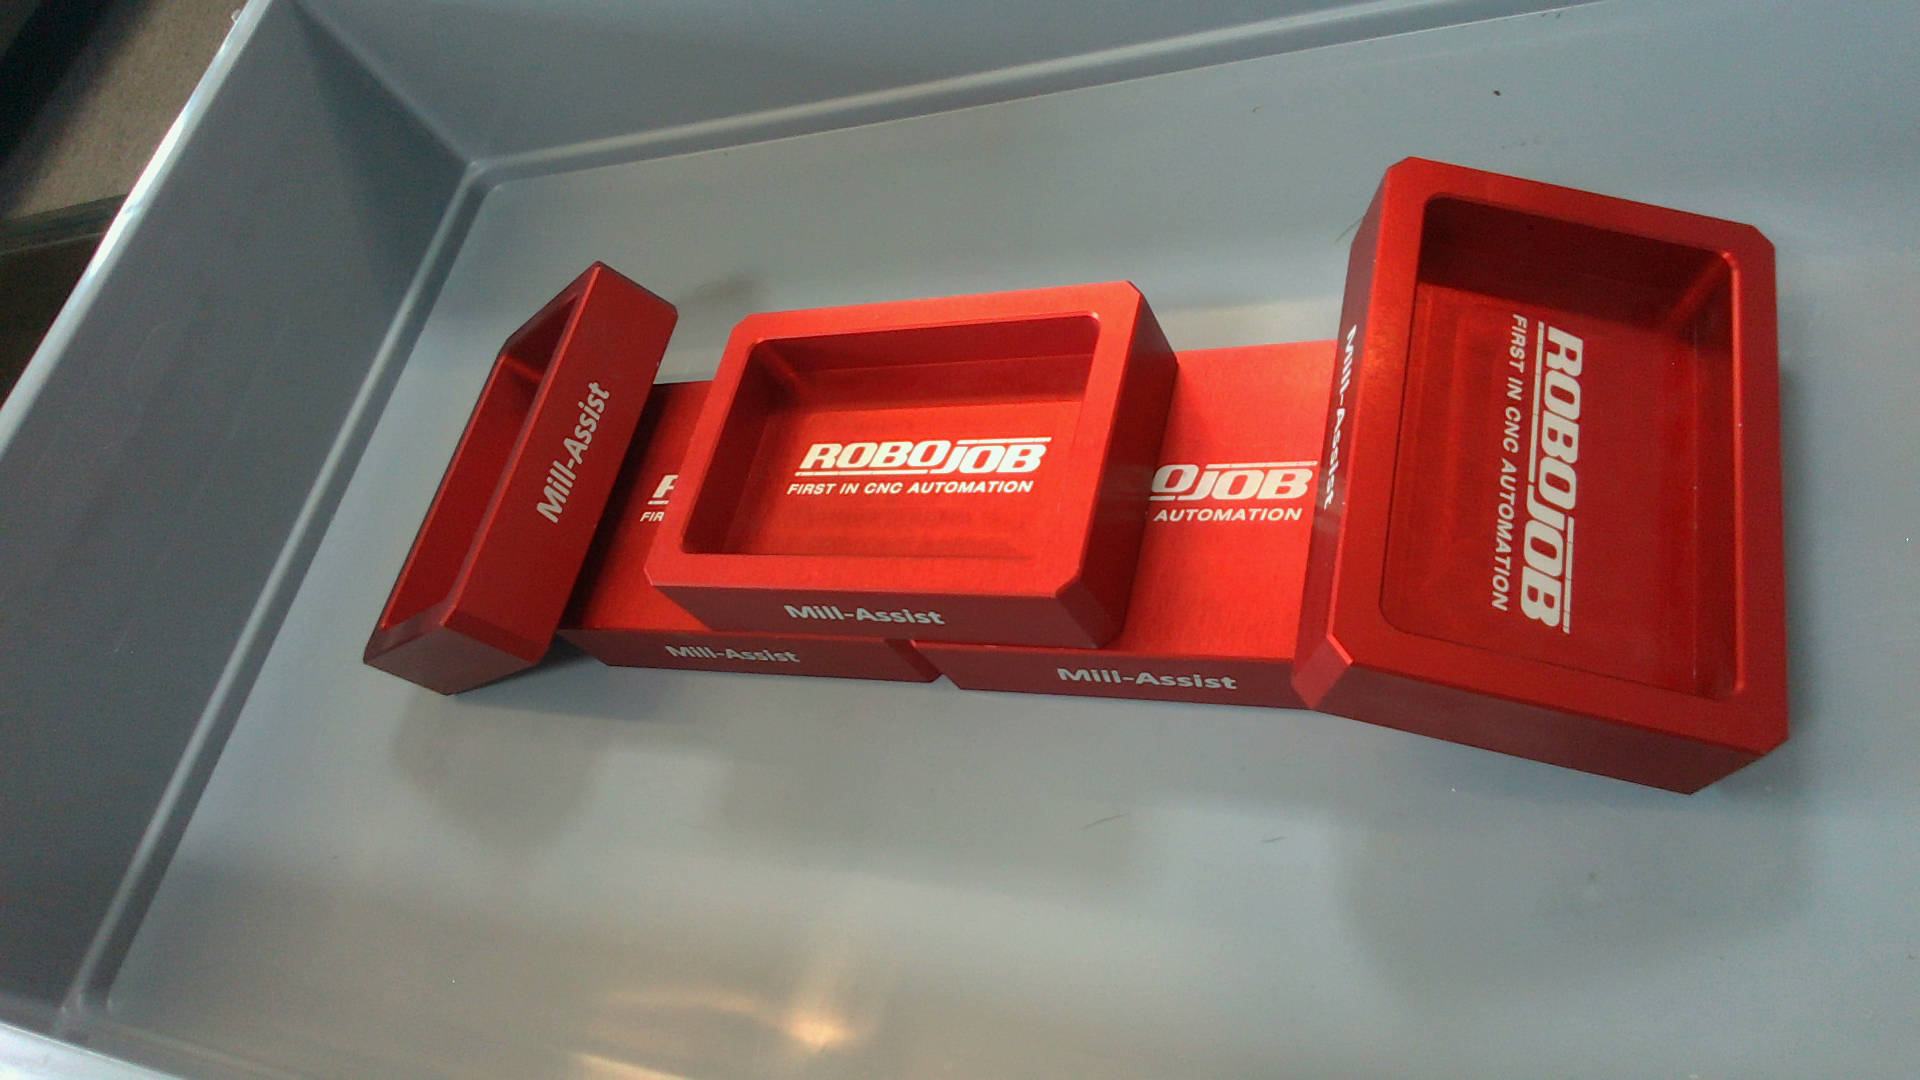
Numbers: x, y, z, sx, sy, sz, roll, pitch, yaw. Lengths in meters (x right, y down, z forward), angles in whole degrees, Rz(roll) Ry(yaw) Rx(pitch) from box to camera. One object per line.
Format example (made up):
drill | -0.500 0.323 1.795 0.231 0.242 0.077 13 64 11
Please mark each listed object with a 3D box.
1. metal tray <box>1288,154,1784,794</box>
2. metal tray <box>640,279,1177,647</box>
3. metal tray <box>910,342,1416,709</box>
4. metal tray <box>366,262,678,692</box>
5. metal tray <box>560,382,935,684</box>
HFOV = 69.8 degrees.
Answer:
metal tray | 0.129 -0.019 0.306 0.090 0.030 0.130 13 65 3
metal tray | -0.015 -0.020 0.370 0.130 0.030 0.090 0 61 29
metal tray | 0.056 -0.005 0.362 0.130 0.030 0.090 0 61 29
metal tray | -0.145 -0.019 0.456 0.090 0.030 0.130 -18 50 50
metal tray | -0.057 -0.006 0.425 0.130 0.030 0.090 0 61 29
